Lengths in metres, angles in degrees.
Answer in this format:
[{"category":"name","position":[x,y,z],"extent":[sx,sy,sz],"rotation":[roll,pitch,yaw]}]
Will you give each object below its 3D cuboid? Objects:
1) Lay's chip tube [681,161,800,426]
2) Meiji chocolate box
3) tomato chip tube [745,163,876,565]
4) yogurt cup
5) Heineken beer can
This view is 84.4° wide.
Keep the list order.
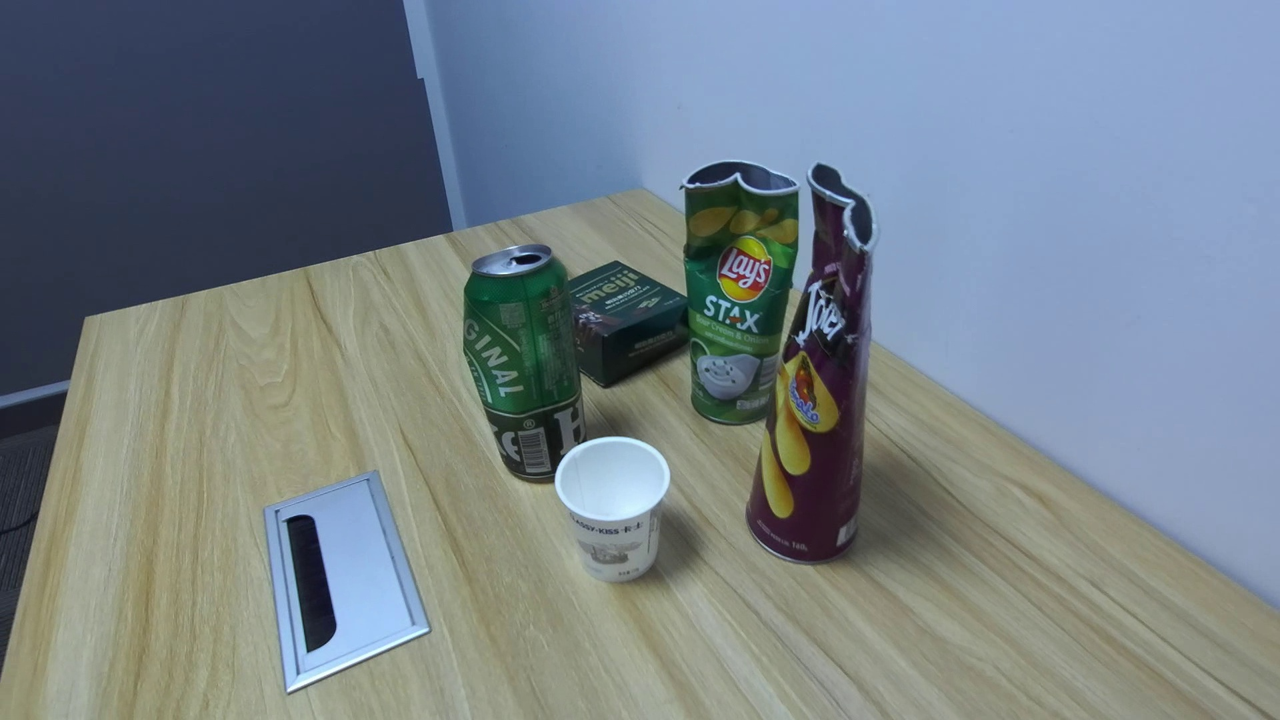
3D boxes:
[{"category":"Lay's chip tube","position":[0.074,-0.046,0.536],"extent":[0.077,0.201,0.069],"rotation":[-3,34,3]},{"category":"Meiji chocolate box","position":[-0.025,-0.038,0.662],"extent":[0.116,0.058,0.122],"rotation":[-27,42,-34]},{"category":"tomato chip tube","position":[0.107,0.014,0.420],"extent":[0.077,0.236,0.090],"rotation":[25,46,35]},{"category":"yogurt cup","position":[-0.016,0.099,0.451],"extent":[0.072,0.068,0.072],"rotation":[-2,36,2]},{"category":"Heineken beer can","position":[-0.078,0.005,0.507],"extent":[0.068,0.168,0.069],"rotation":[2,30,12]}]
